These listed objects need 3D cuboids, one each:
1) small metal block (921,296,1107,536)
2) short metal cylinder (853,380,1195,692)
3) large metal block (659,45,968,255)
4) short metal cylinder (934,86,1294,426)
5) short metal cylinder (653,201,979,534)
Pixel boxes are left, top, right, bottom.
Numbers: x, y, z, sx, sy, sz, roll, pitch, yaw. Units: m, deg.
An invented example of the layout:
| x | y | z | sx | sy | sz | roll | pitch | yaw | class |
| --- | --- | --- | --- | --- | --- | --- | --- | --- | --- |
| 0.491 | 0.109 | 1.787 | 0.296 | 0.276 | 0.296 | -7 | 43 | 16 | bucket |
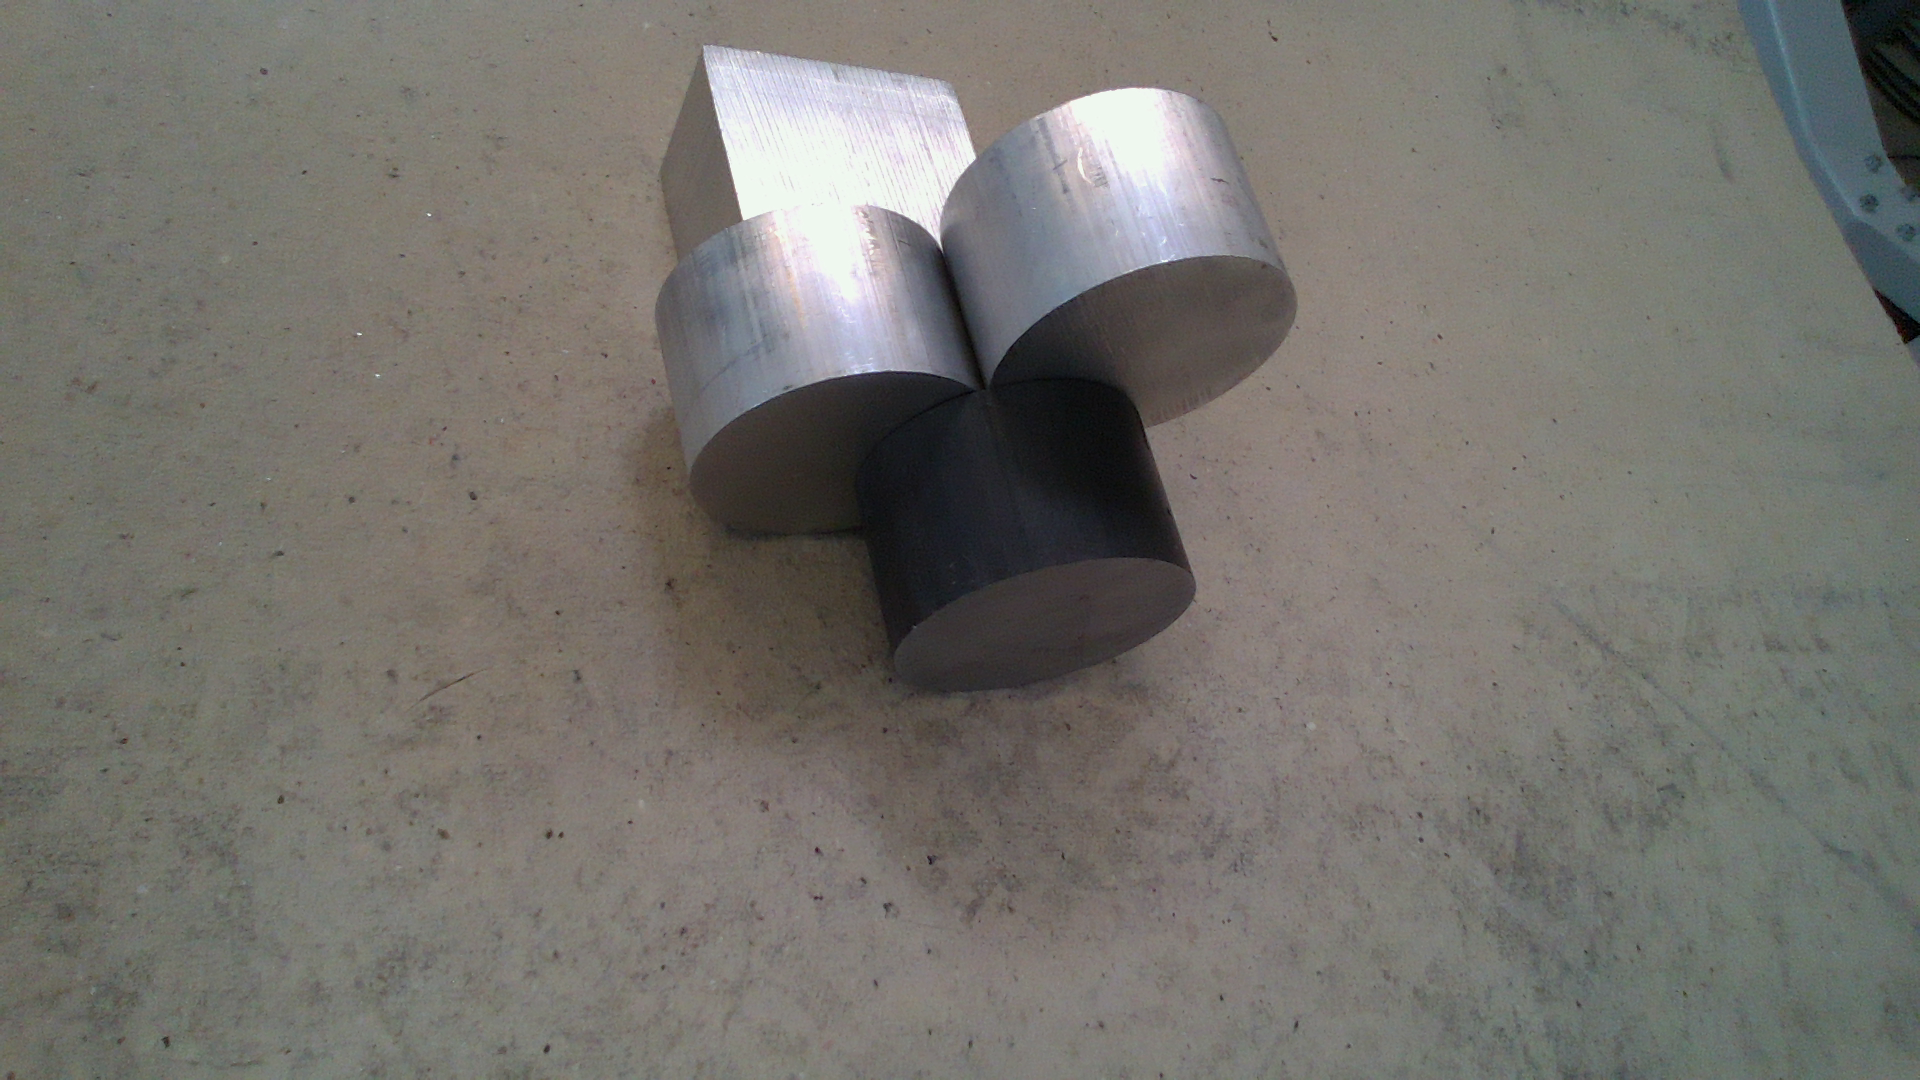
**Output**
| x | y | z | sx | sy | sz | roll | pitch | yaw | class |
| --- | --- | --- | --- | --- | --- | --- | --- | --- | --- |
| 0.014 | -0.035 | 0.406 | 0.025 | 0.050 | 0.050 | 1 | 61 | -28 | small metal block |
| 0.016 | 0.001 | 0.363 | 0.080 | 0.080 | 0.050 | 0 | 62 | -28 | short metal cylinder |
| -0.039 | -0.094 | 0.411 | 0.080 | 0.050 | 0.080 | -2 | 62 | -29 | large metal block |
| 0.038 | -0.068 | 0.353 | 0.080 | 0.080 | 0.050 | -2 | 63 | -29 | short metal cylinder |
| -0.036 | -0.043 | 0.362 | 0.080 | 0.080 | 0.050 | -2 | 63 | -29 | short metal cylinder |
